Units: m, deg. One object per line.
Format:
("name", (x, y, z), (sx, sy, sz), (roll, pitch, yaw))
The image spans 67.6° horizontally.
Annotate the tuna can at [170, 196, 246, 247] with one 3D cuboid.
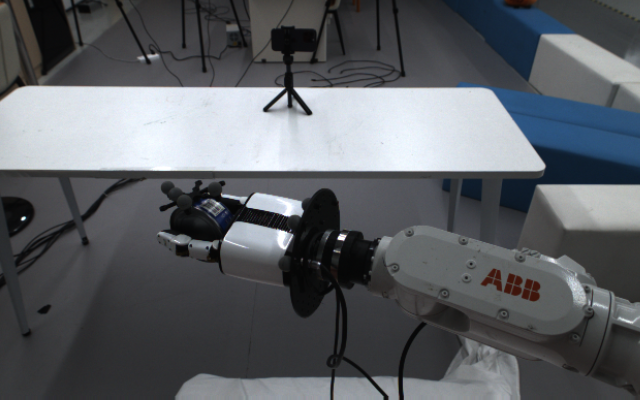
("tuna can", (-0.149, 0.037, 0.633), (0.085, 0.085, 0.034), (17, 36, 20))
